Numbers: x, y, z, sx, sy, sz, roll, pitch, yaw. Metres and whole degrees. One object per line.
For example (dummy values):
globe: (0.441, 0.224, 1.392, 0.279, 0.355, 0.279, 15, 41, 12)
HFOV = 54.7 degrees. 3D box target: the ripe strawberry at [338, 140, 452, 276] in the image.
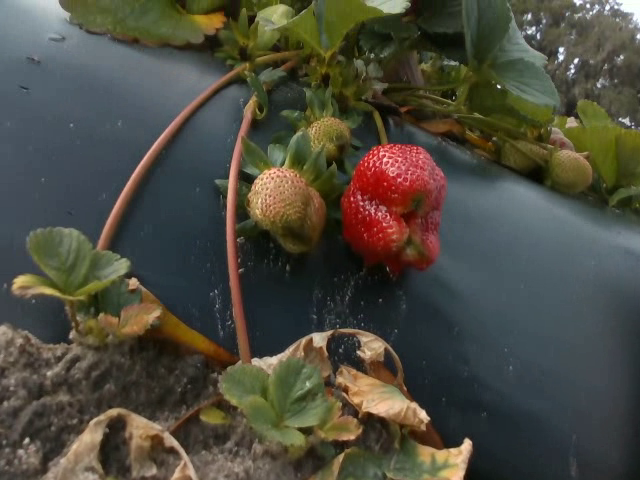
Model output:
ripe strawberry: (0.039, -0.022, 0.279, 0.066, 0.075, 0.053, 9, -28, -15)
